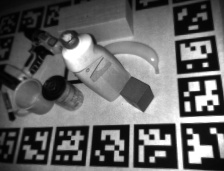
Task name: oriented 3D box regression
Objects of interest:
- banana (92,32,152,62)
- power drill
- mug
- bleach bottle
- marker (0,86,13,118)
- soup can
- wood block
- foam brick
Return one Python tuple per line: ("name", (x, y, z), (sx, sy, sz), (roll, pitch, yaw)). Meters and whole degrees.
("banana", (0.024, -0.117, 0.617), (0.195, 0.039, 0.074), (11, 87, 20))
("power drill", (-0.275, -0.098, 0.707), (0.182, 0.058, 0.187), (26, 78, 22))
("mug", (-0.241, 0.027, 0.626), (0.092, 0.082, 0.117), (41, 89, 25))
("bleach bottle", (-0.046, -0.055, 0.498), (0.067, 0.253, 0.103), (25, 78, 27))
("marker", (-0.340, 0.052, 0.688), (0.019, 0.020, 0.120), (-33, 64, 7))
("soup can", (-0.143, 0.009, 0.583), (0.067, 0.103, 0.067), (-7, 63, 15))
("wood block", (-0.056, -0.201, 0.652), (0.205, 0.092, 0.089), (-6, 69, 16))
("foam brick", (0.055, 0.013, 0.538), (0.052, 0.079, 0.051), (30, 80, 29))
